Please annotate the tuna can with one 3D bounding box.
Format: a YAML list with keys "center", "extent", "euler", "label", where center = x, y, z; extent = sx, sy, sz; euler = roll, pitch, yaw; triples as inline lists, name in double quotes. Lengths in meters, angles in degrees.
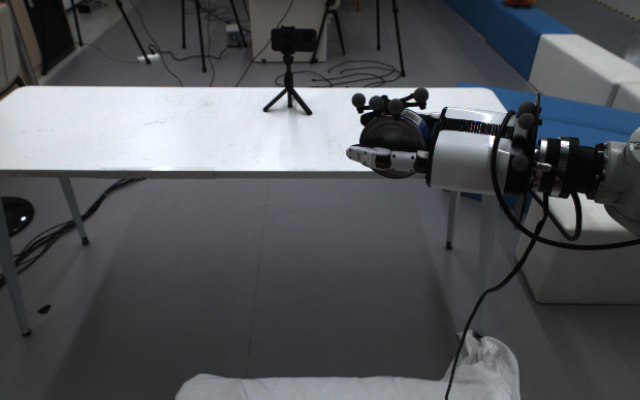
- center: [0.097, -0.073, 0.610]
  extent: [0.085, 0.085, 0.034]
  euler: [17, 37, 20]
  label: "tuna can"
